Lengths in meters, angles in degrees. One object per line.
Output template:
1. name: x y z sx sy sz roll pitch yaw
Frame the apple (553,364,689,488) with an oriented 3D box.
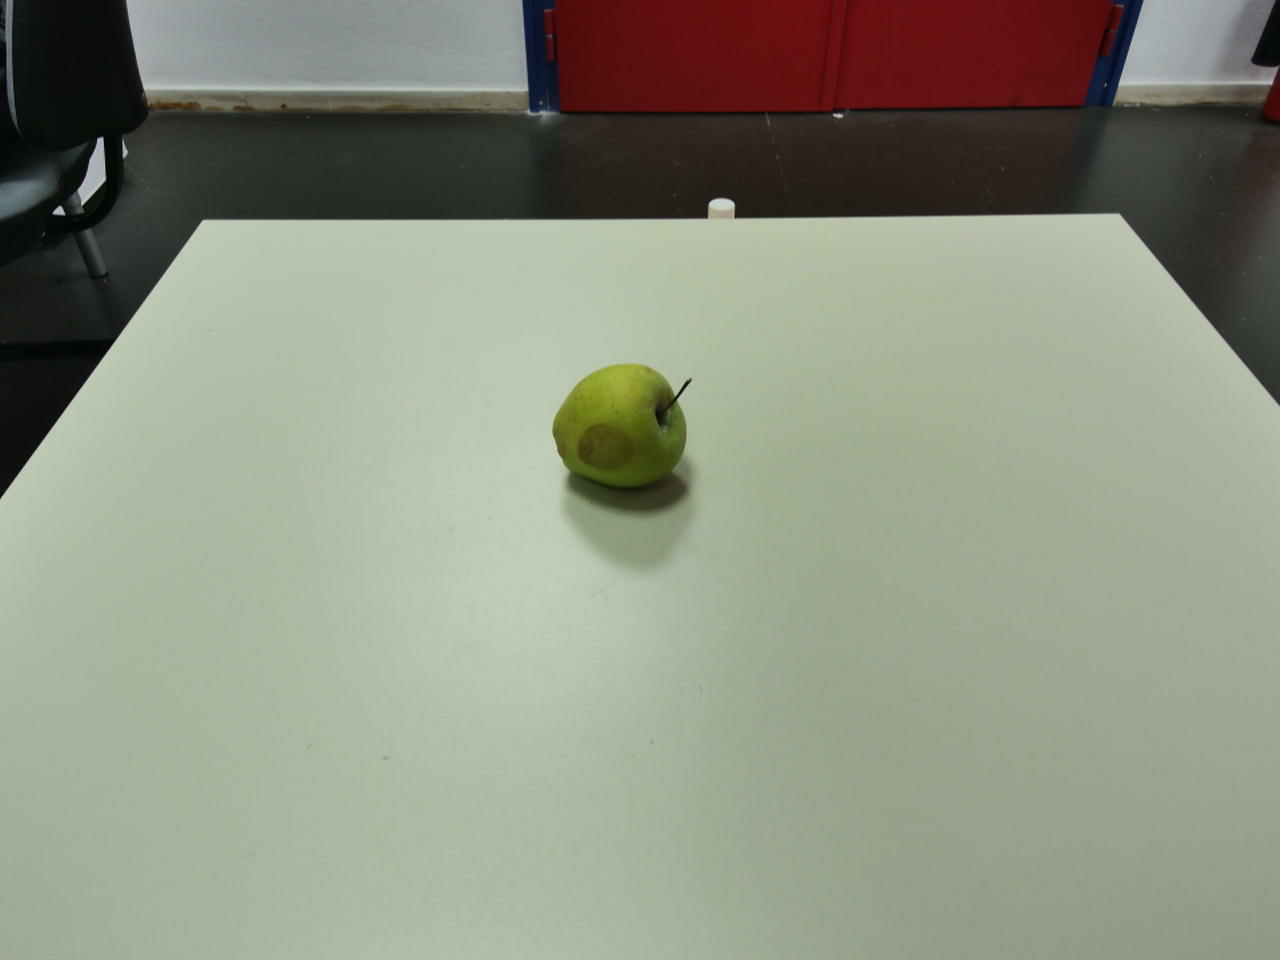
1. apple: -0.011 -0.034 0.598 0.077 0.075 0.072 32 48 33
